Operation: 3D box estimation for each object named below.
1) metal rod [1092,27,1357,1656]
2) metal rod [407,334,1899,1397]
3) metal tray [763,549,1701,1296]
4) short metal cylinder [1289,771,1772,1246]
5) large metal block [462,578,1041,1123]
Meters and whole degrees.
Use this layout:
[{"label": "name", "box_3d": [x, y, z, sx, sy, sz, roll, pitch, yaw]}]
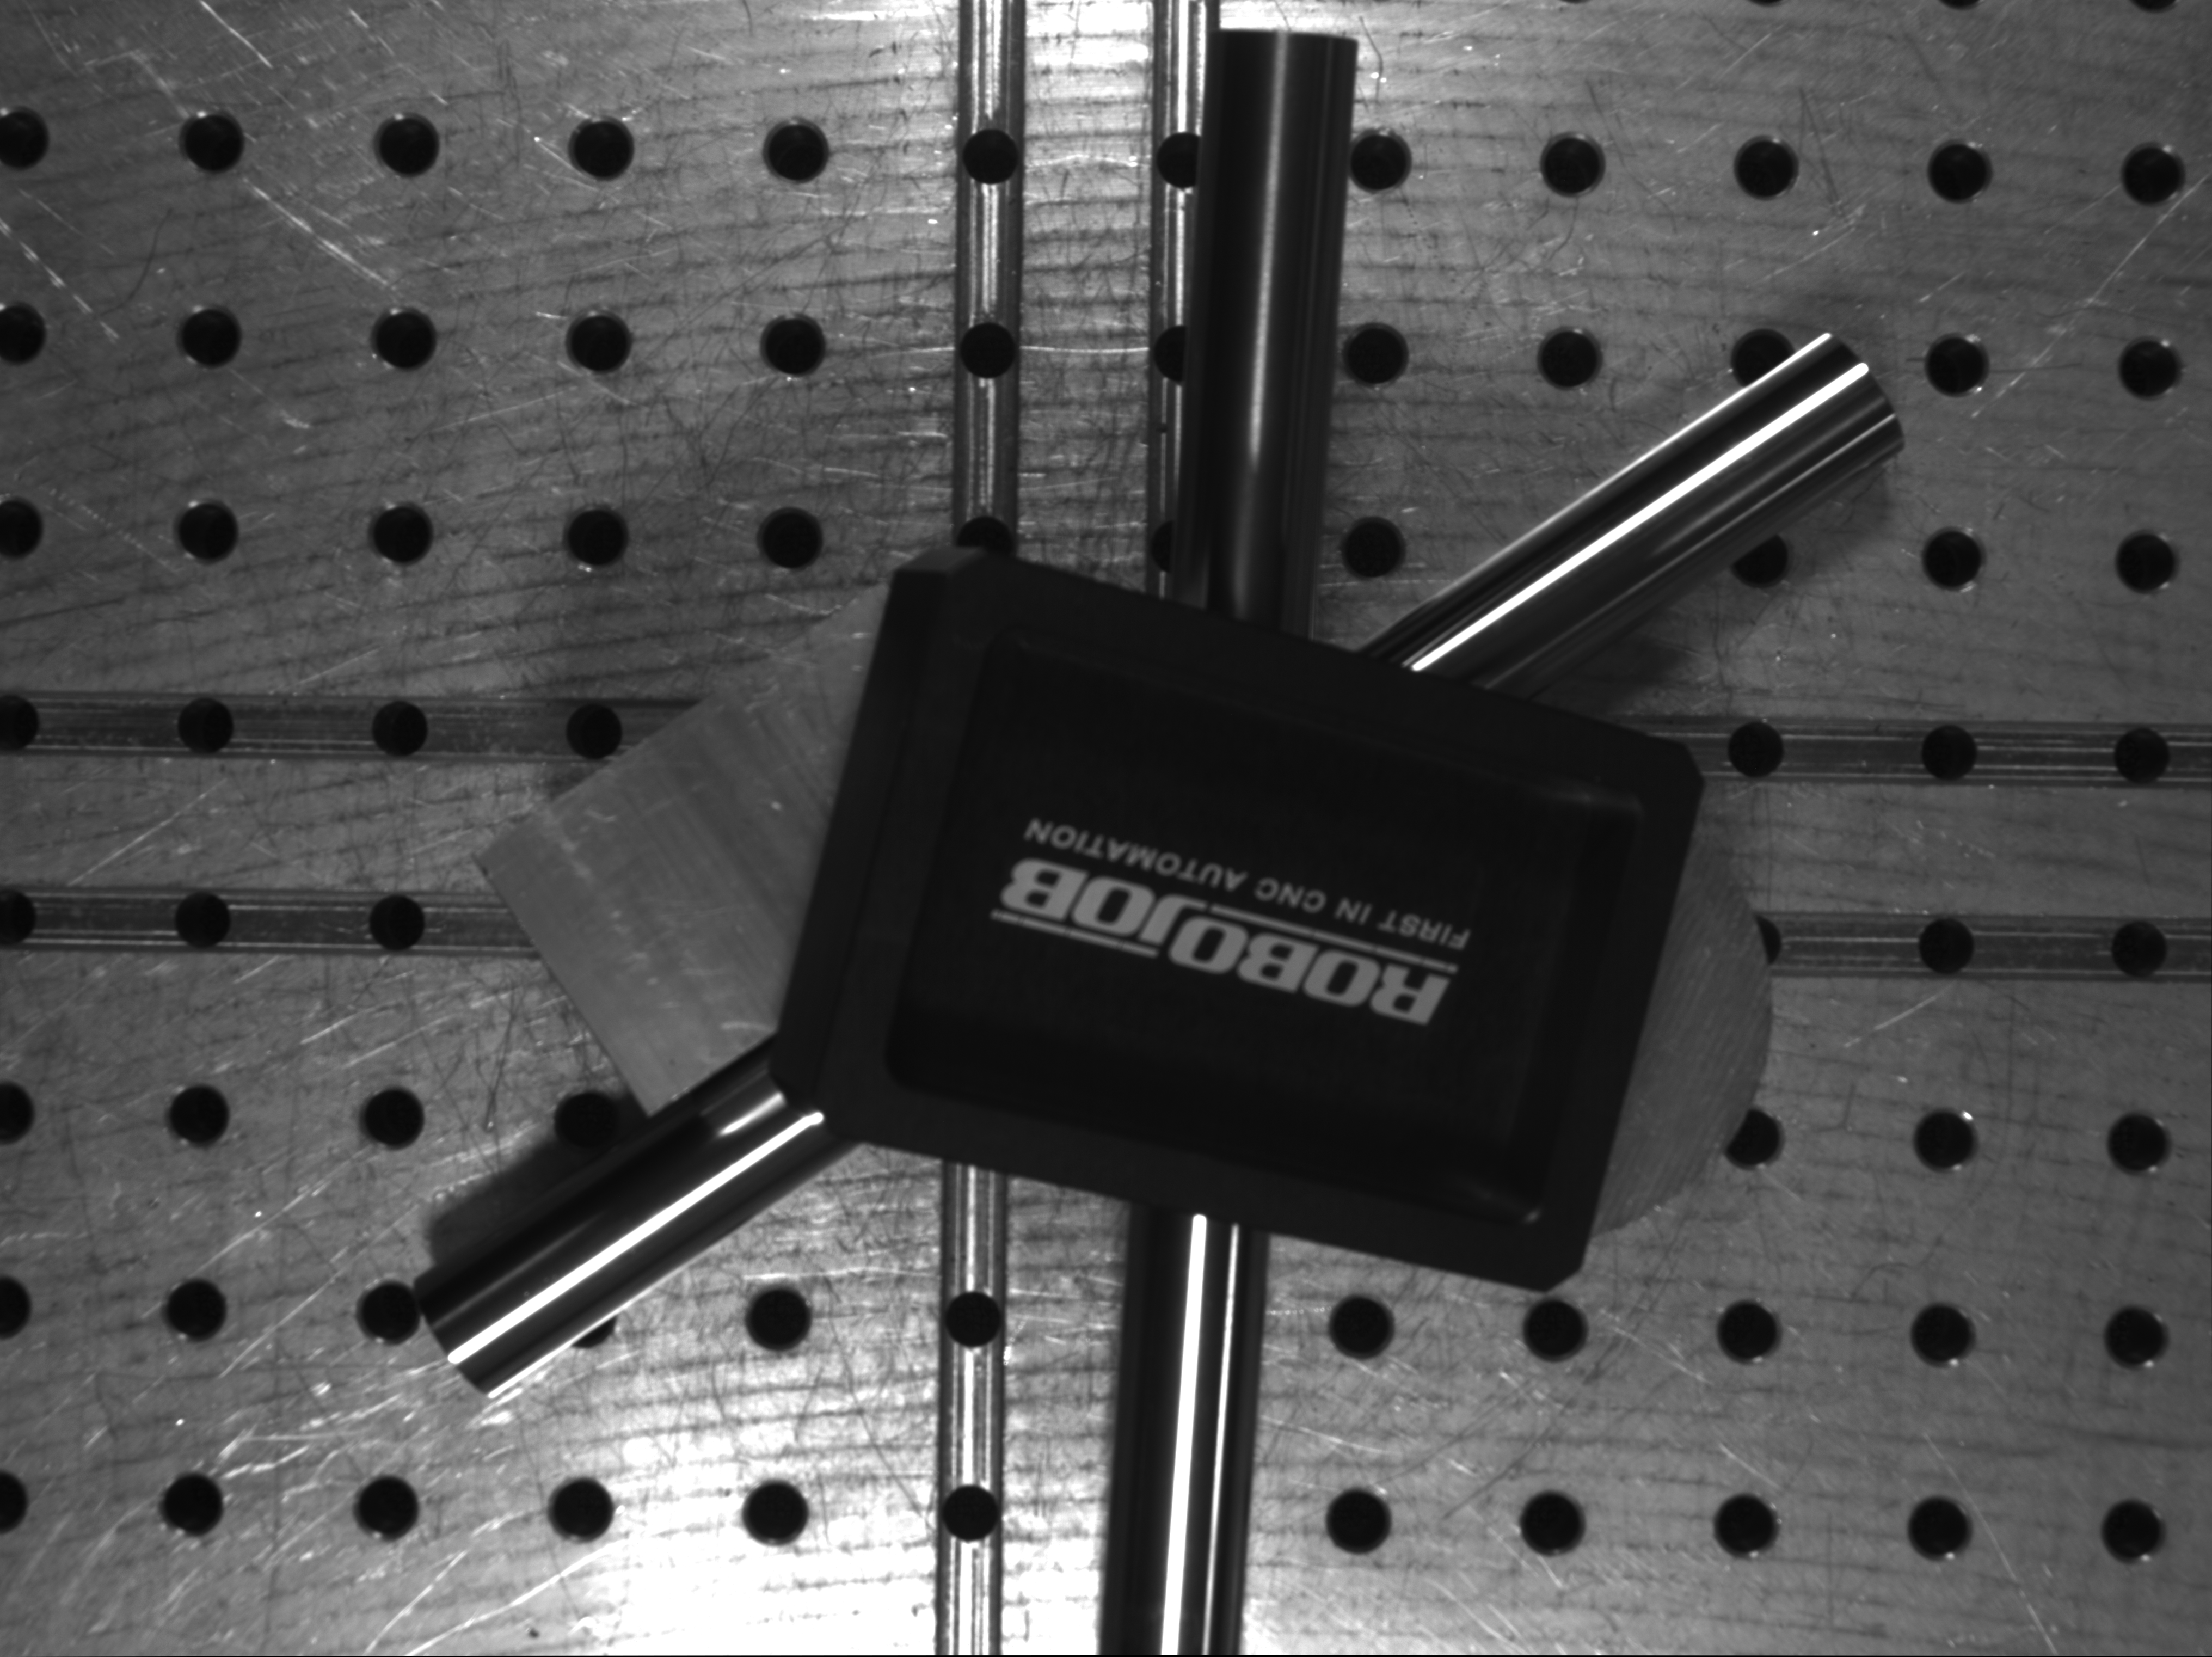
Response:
[{"label": "metal rod", "box_3d": [0.019, 0.017, 0.625, 0.025, 0.025, 0.300, 4, 99, 0]}, {"label": "metal rod", "box_3d": [0.009, 0.006, 0.648, 0.300, 0.025, 0.025, -34, 90, 0]}, {"label": "metal tray", "box_3d": [0.021, 0.015, 0.574, 0.130, 0.030, 0.090, 14, 90, -19]}, {"label": "short metal cylinder", "box_3d": [0.071, 0.030, 0.634, 0.080, 0.050, 0.080, 0, 90, 0]}, {"label": "large metal block", "box_3d": [-0.055, 0.004, 0.619, 0.080, 0.080, 0.050, -34, 90, 0]}]
